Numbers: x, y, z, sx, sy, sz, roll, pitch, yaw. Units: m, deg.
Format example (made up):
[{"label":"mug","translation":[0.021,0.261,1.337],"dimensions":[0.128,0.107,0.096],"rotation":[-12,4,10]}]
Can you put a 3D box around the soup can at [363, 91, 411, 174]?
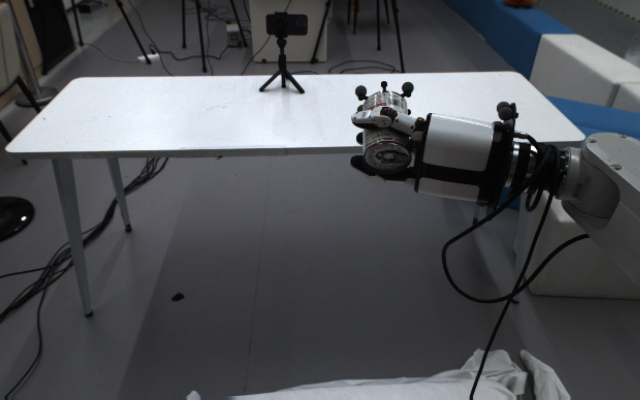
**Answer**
[{"label":"soup can","translation":[0.095,-0.098,0.692],"dimensions":[0.067,0.067,0.101],"rotation":[3,57,1]}]
